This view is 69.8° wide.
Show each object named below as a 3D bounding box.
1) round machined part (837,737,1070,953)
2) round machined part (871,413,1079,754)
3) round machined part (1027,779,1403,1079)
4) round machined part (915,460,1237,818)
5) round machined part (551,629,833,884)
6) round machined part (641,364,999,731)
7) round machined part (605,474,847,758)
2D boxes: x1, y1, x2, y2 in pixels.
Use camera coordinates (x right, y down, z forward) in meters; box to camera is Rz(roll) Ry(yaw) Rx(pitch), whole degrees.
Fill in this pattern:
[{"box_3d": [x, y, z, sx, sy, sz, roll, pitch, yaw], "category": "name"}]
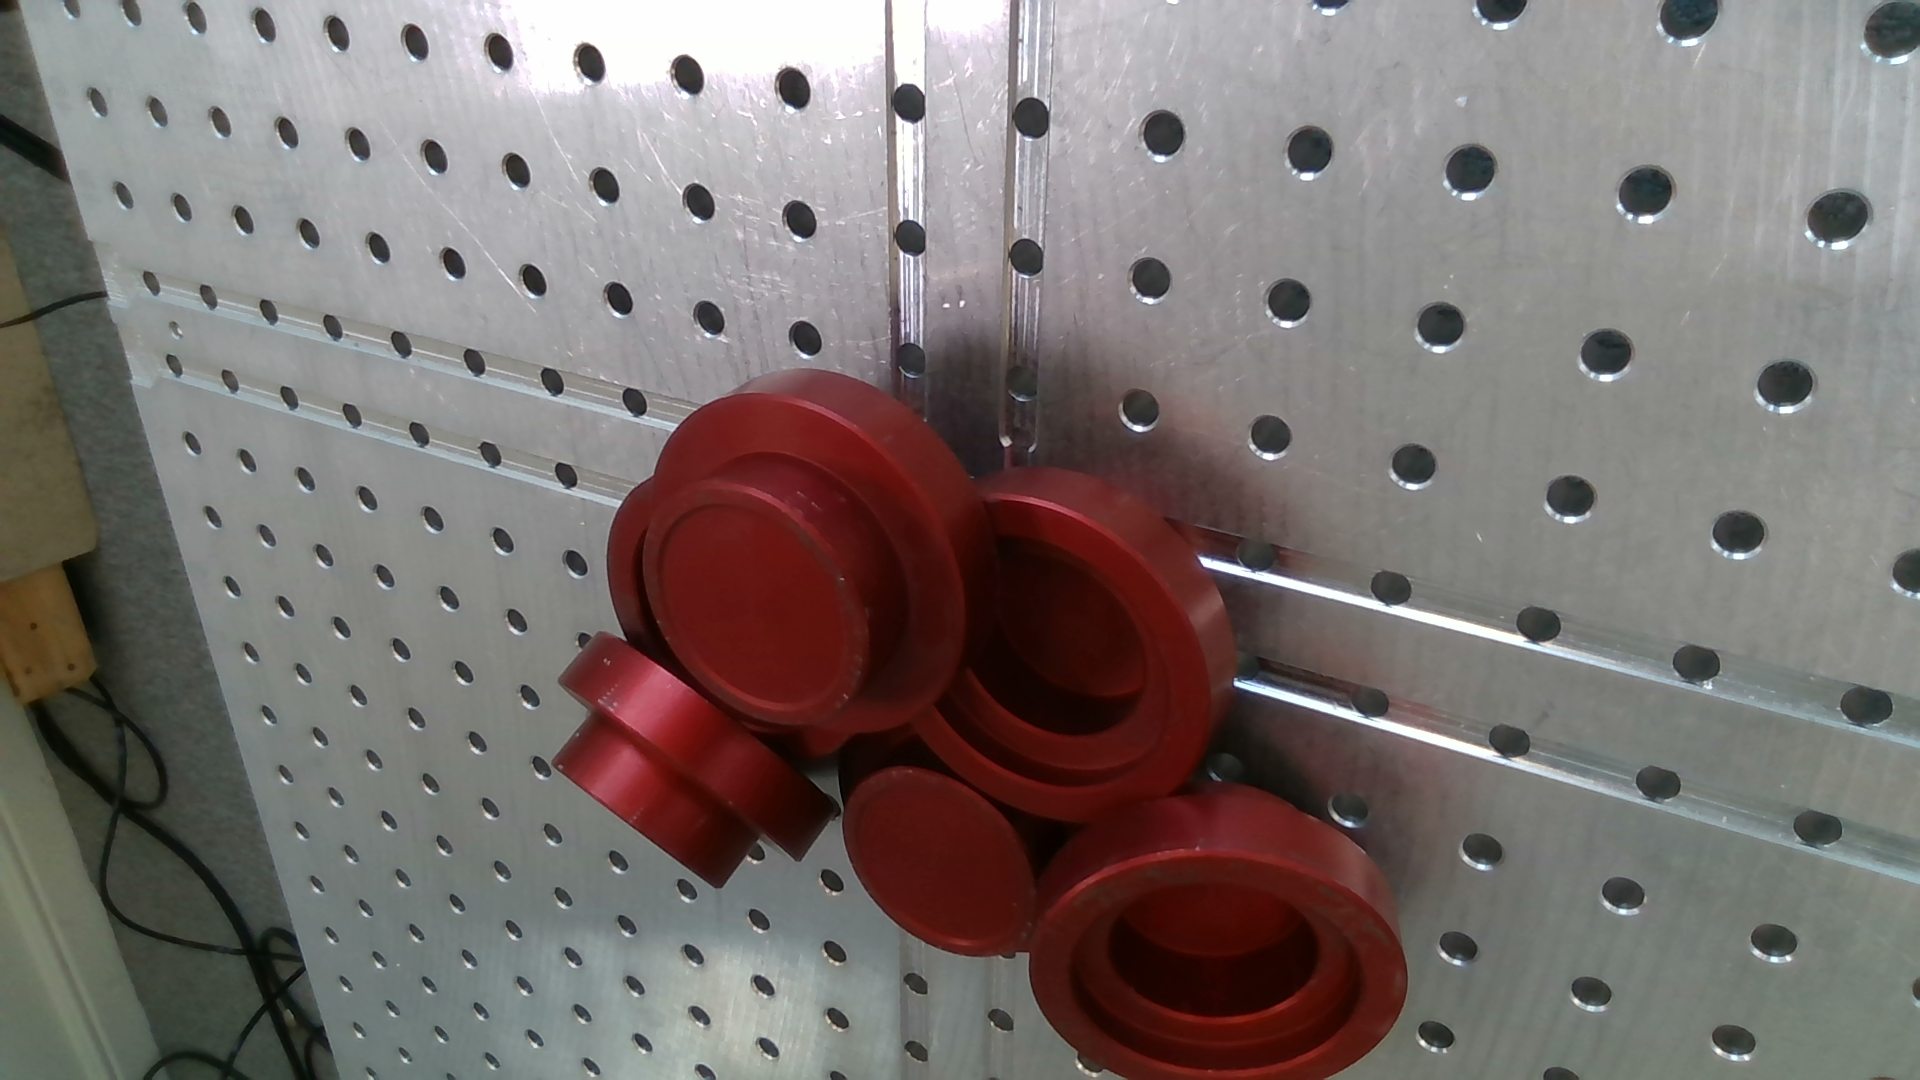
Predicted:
[{"box_3d": [0.003, 0.088, 0.426, 0.098, 0.042, 0.098, 14, 122, 25], "category": "round machined part"}, {"box_3d": [-0.010, 0.008, 0.391, 0.098, 0.042, 0.098, 14, 122, 25], "category": "round machined part"}, {"box_3d": [0.069, 0.105, 0.381, 0.098, 0.042, 0.098, 4, 125, 6], "category": "round machined part"}, {"box_3d": [0.029, 0.023, 0.376, 0.098, 0.042, 0.098, 14, 122, 25], "category": "round machined part"}, {"box_3d": [-0.092, 0.075, 0.446, 0.098, 0.042, 0.098, 34, 163, 12], "category": "round machined part"}, {"box_3d": [-0.043, 0.008, 0.356, 0.098, 0.042, 0.098, 14, 122, 25], "category": "round machined part"}, {"box_3d": [-0.058, 0.014, 0.424, 0.098, 0.042, 0.098, 14, 122, 25], "category": "round machined part"}]
